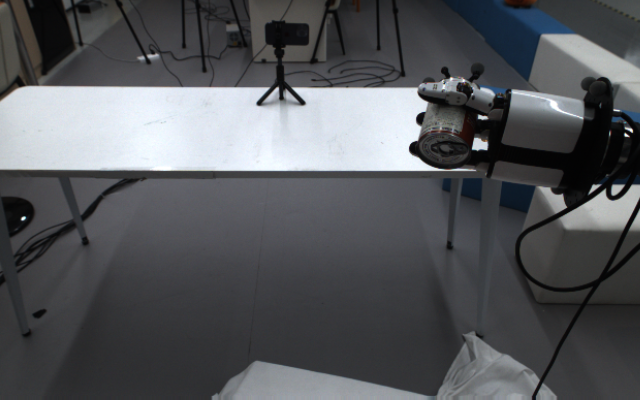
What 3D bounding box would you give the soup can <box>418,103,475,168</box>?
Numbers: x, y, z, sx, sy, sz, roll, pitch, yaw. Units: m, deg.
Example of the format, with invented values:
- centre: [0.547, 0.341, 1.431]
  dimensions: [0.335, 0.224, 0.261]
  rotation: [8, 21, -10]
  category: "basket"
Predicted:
- centre: [0.166, -0.102, 0.622]
  dimensions: [0.067, 0.067, 0.101]
  rotation: [12, 59, 14]
  category: "soup can"
